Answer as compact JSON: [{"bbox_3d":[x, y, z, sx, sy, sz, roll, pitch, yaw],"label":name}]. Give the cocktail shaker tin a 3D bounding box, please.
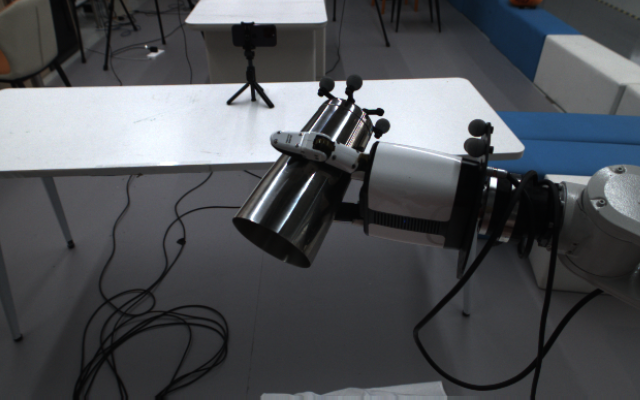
[{"bbox_3d":[-0.006,-0.028,0.515,0.093,0.093,0.170,19,66,23],"label":"cocktail shaker tin"}]
